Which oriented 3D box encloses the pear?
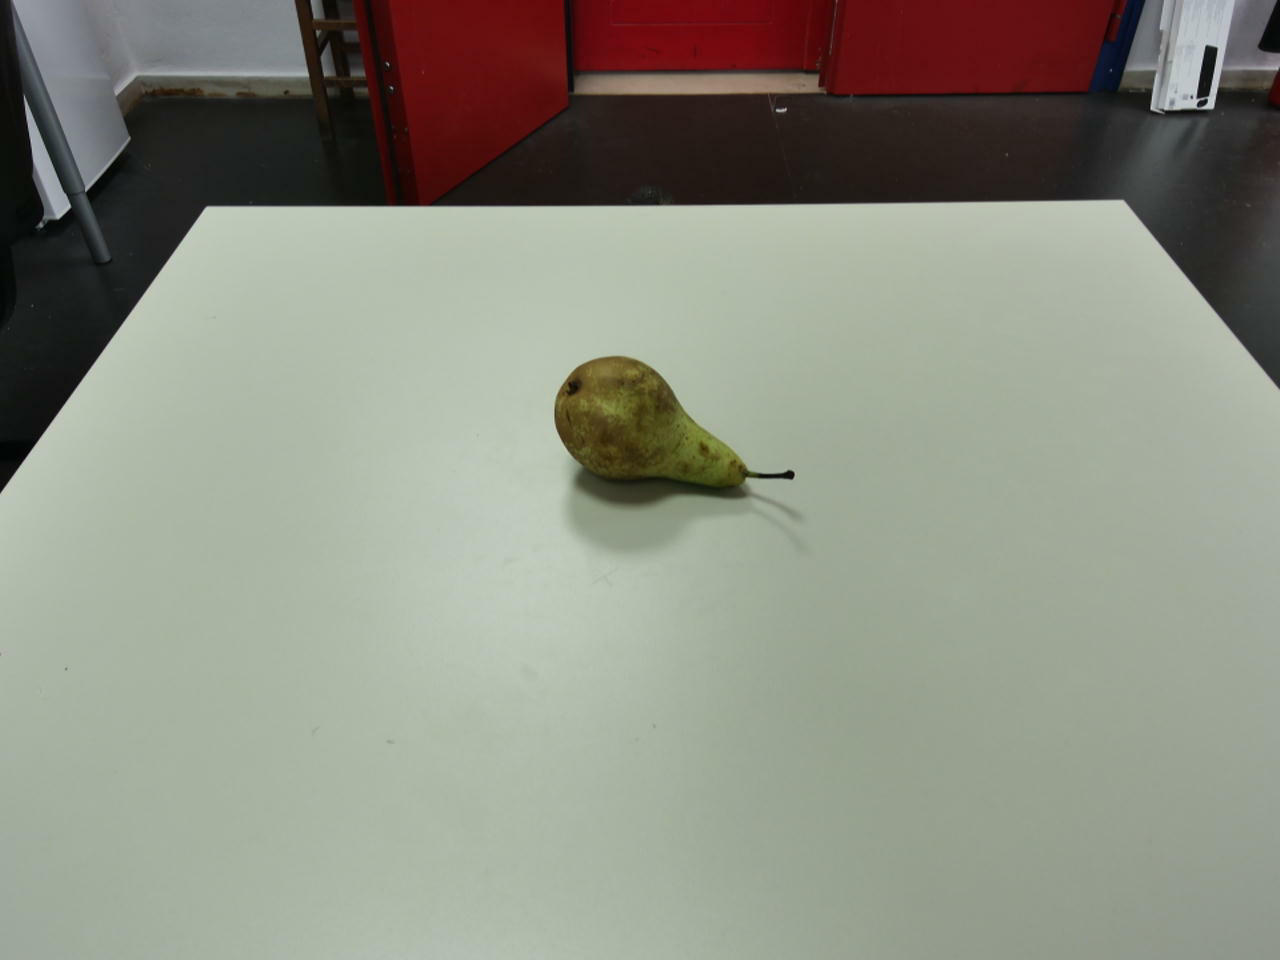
[{"bbox_3d":[0.021,-0.034,0.592,0.144,0.075,0.071,4,40,6],"label":"pear"}]
